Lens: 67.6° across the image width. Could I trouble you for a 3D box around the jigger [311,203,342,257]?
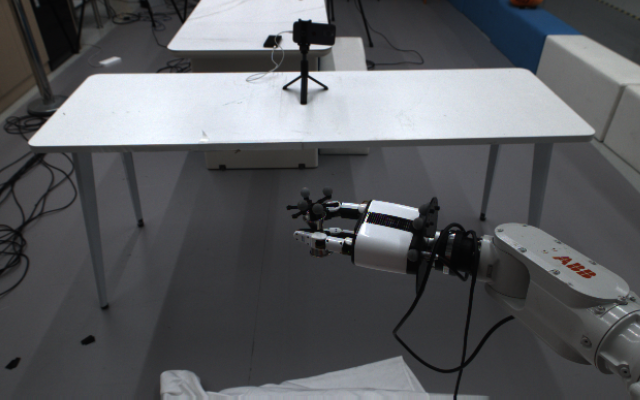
[{"bbox_3d":[-0.001,0.054,0.811,0.043,0.071,0.043,-10,23,5],"label":"jigger"}]
